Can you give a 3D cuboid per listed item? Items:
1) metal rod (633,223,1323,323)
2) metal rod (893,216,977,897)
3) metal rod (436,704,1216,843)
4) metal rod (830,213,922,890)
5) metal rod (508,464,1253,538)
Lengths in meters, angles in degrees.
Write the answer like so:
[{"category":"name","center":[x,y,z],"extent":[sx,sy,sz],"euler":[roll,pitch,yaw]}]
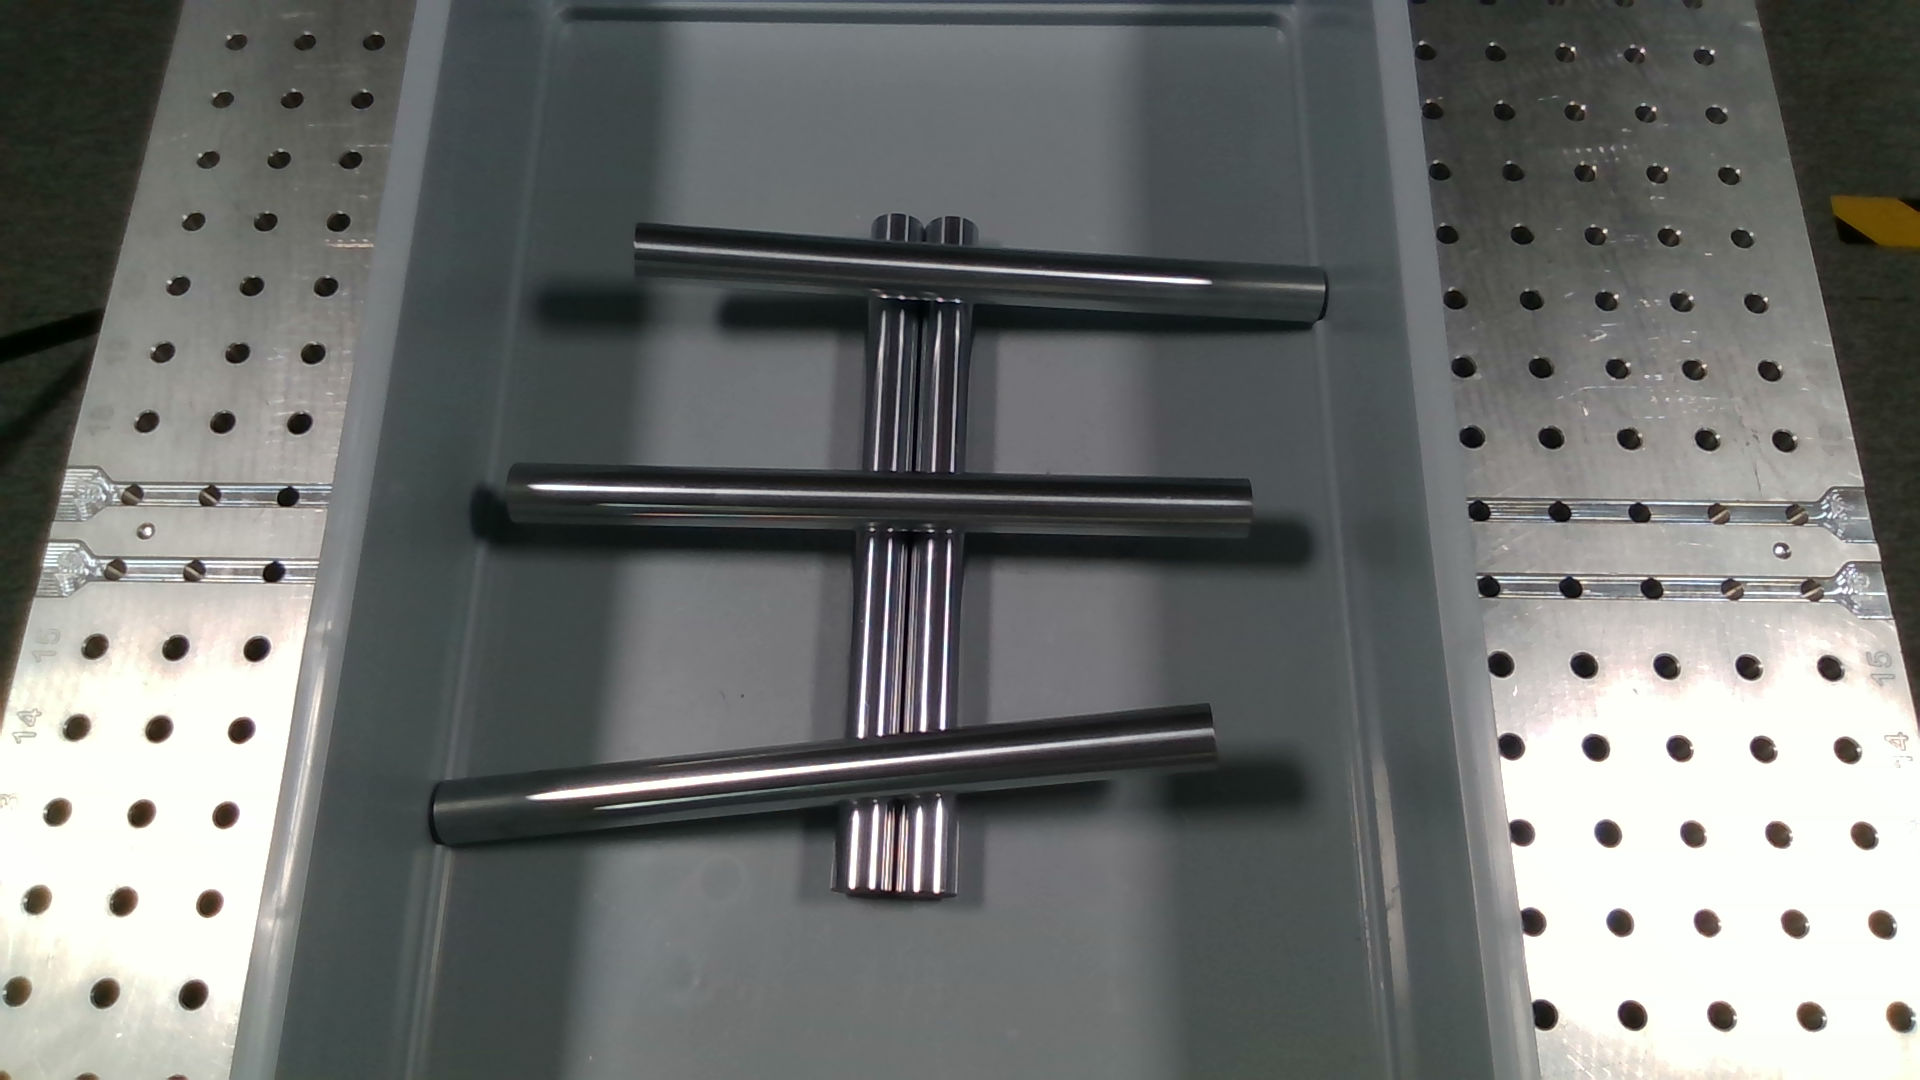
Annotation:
[{"category":"metal rod","center":[0.011,-0.116,0.603],"extent":[0.300,0.025,0.025],"euler":[2,70,-8]},{"category":"metal rod","center":[-0.009,-0.003,0.588],"extent":[0.025,0.025,0.299],"euler":[2,70,1]},{"category":"metal rod","center":[-0.054,0.091,0.531],"extent":[0.300,0.025,0.025],"euler":[-7,70,6]},{"category":"metal rod","center":[-0.034,-0.004,0.589],"extent":[0.025,0.025,0.299],"euler":[2,70,1]},{"category":"metal rod","center":[-0.032,-0.016,0.567],"extent":[0.300,0.025,0.025],"euler":[1,70,1]}]
